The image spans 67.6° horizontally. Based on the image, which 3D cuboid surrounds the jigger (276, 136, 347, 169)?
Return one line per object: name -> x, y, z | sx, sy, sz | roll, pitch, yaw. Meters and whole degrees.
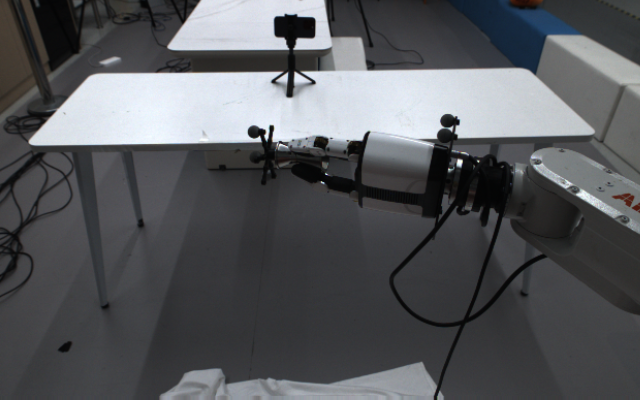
jigger -> -0.018, -0.065, 0.676 | 0.071, 0.043, 0.043 | 3, 34, 14
